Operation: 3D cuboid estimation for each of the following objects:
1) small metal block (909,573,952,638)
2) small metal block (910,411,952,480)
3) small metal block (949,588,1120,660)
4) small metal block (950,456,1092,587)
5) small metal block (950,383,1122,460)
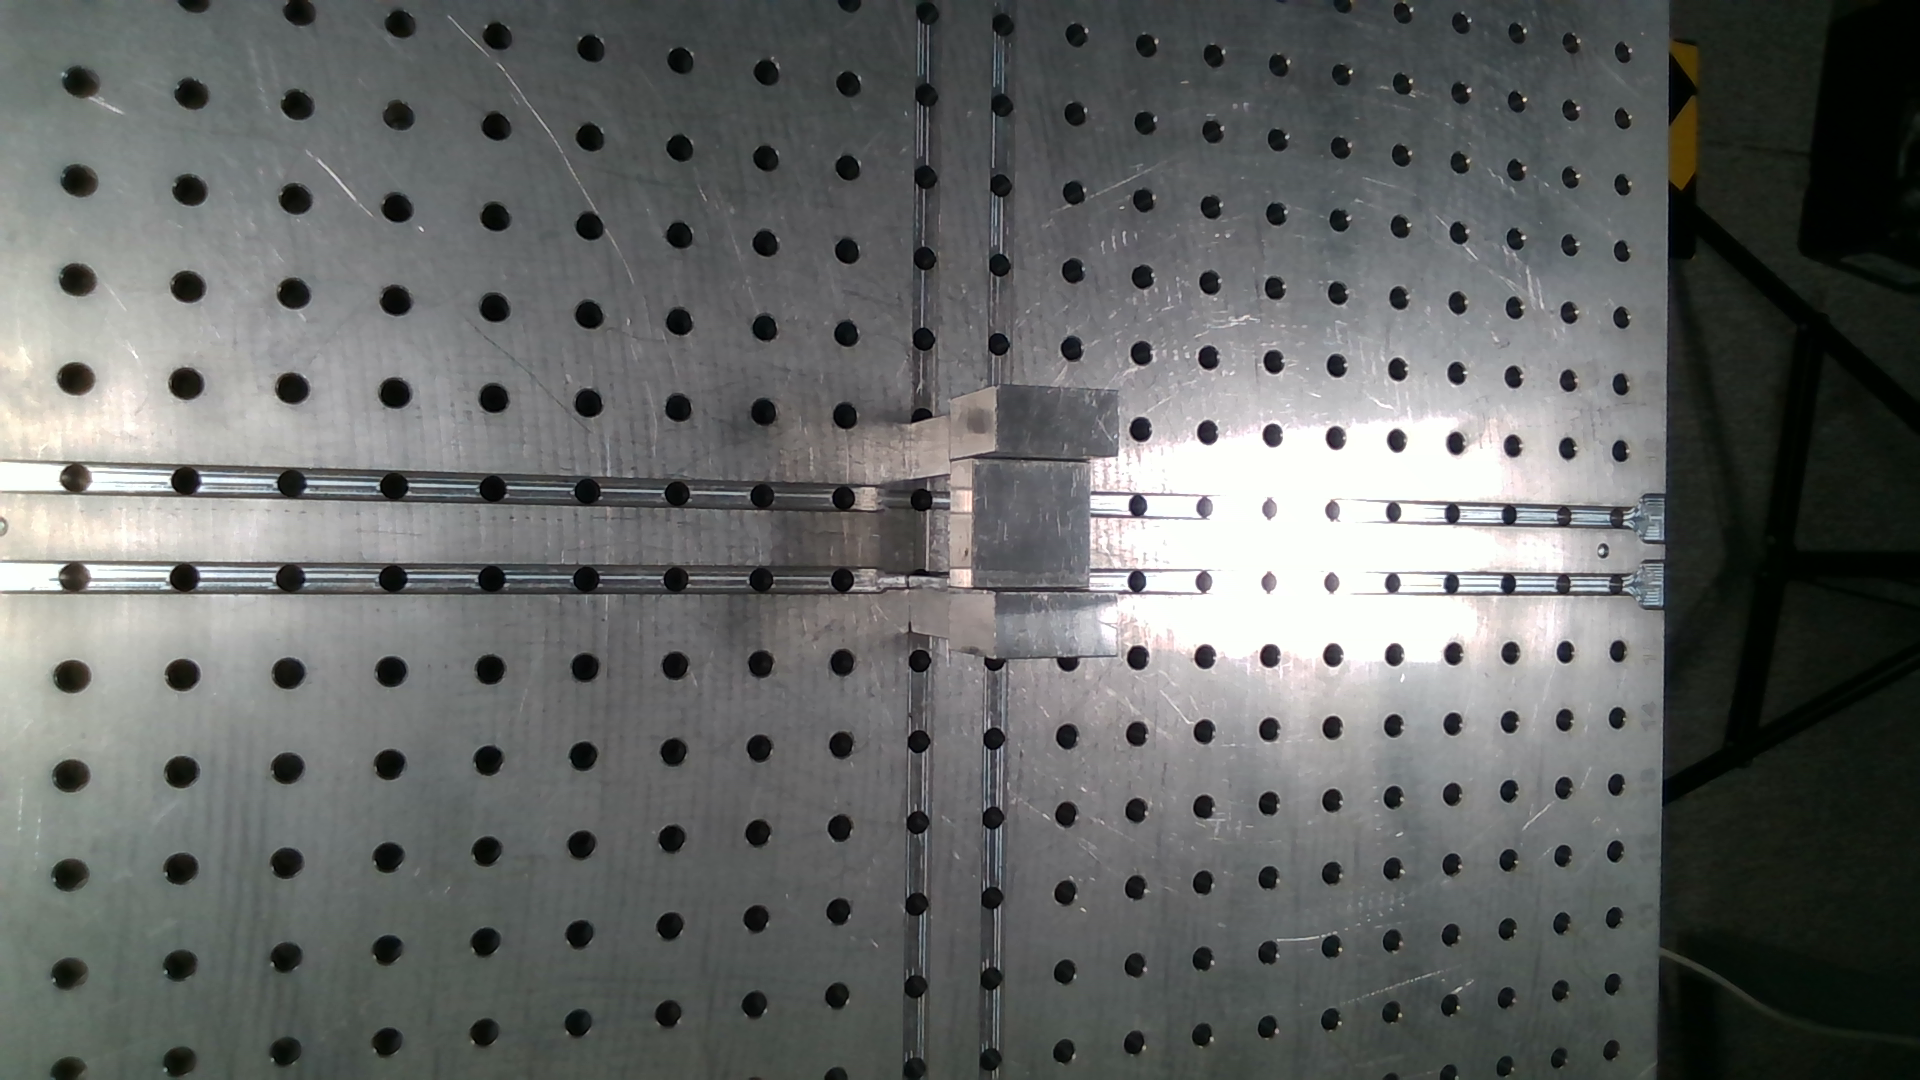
[{"bbox_3d":[0.010,0.026,0.579,0.050,0.050,0.025,-1,90,-20],"label":"small metal block"},{"bbox_3d":[0.011,-0.038,0.578,0.050,0.050,0.025,1,90,-20],"label":"small metal block"},{"bbox_3d":[0.028,0.031,0.531,0.050,0.050,0.025,1,89,-21],"label":"small metal block"},{"bbox_3d":[0.024,-0.007,0.545,0.050,0.025,0.050,1,90,-20],"label":"small metal block"},{"bbox_3d":[0.028,-0.044,0.531,0.050,0.050,0.025,1,89,-21],"label":"small metal block"}]
